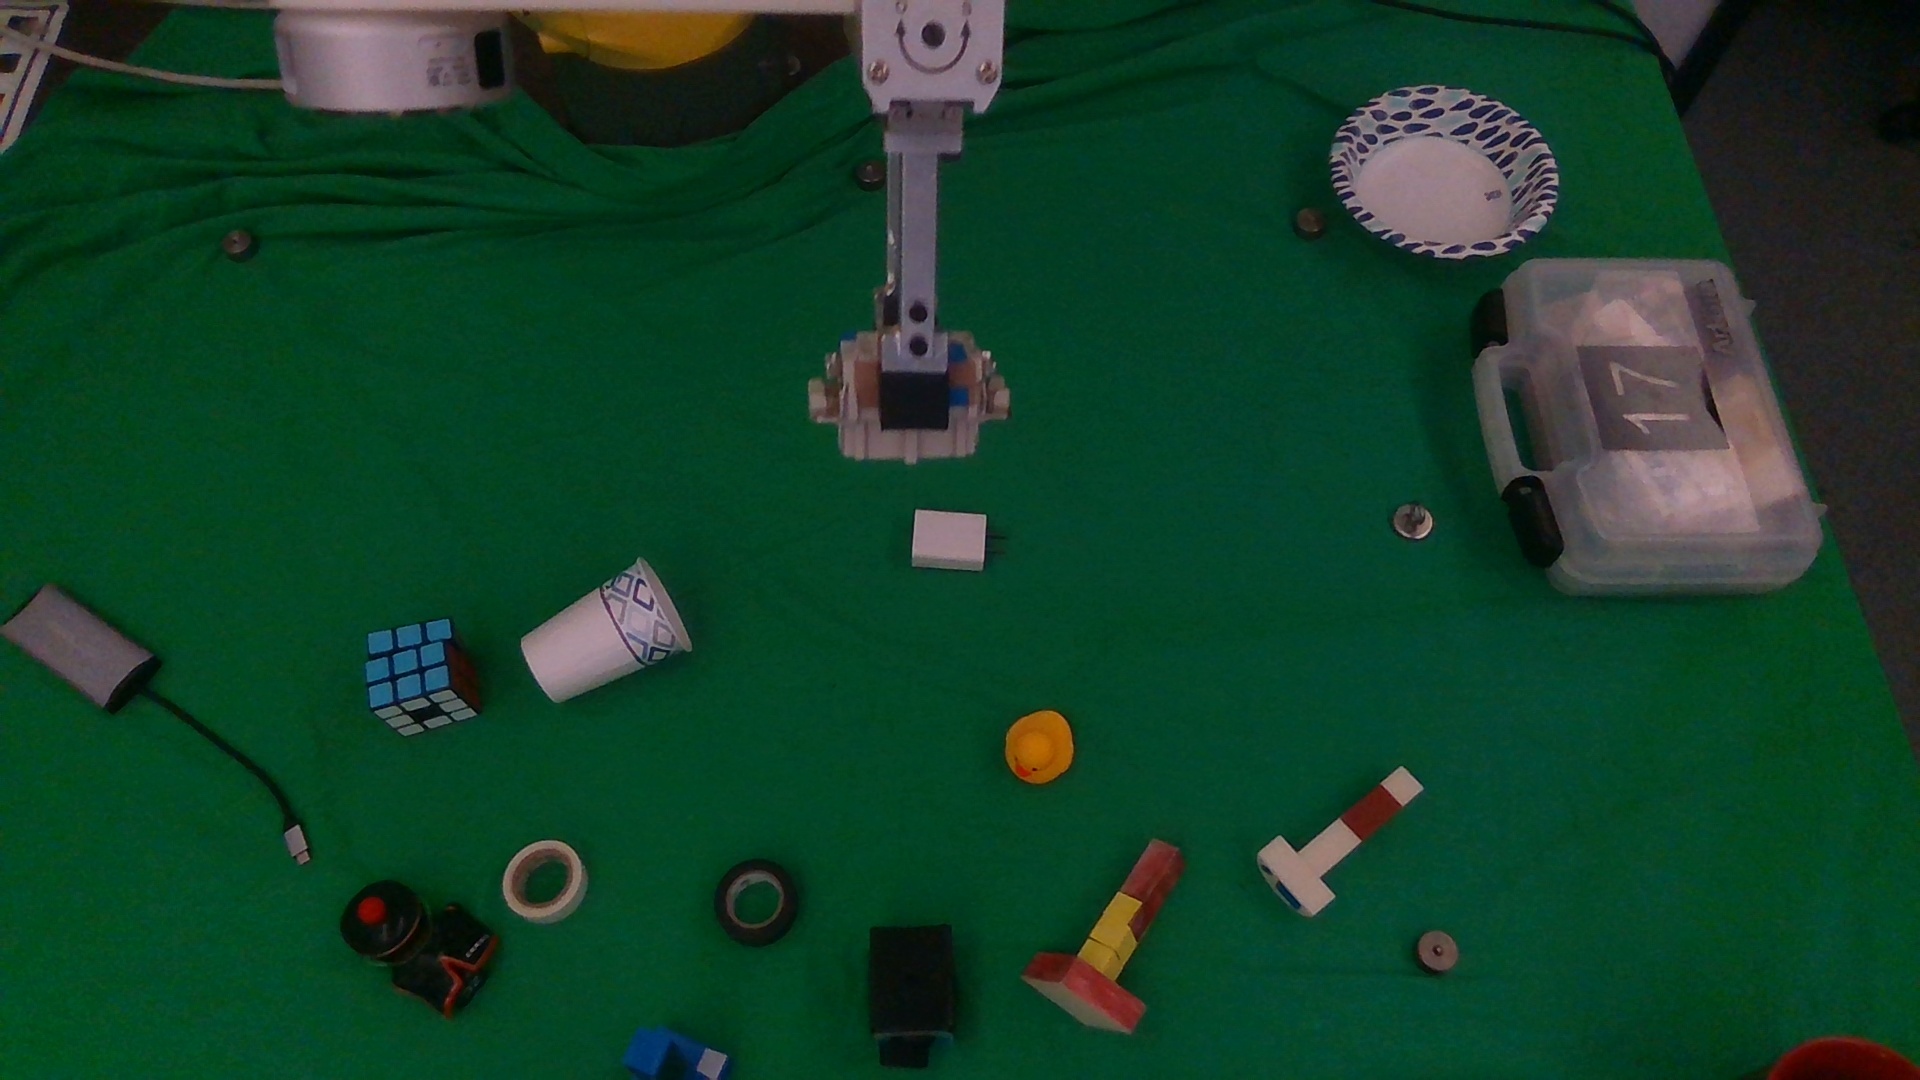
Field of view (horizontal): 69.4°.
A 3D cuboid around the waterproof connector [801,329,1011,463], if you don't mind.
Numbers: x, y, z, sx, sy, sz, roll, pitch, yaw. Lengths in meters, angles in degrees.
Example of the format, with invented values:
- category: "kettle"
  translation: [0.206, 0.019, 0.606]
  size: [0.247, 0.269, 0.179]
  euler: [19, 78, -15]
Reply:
- category: "waterproof connector"
  translation: [-0.018, -0.046, 0.442]
  size: [0.065, 0.037, 0.035]
  euler: [0, 22, -9]

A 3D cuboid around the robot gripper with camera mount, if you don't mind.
- category: "robot gripper with camera mount"
  translation: [-0.098, -0.110, 0.398]
  size: [0.193, 0.158, 0.119]
  euler: [-2, 26, -7]
